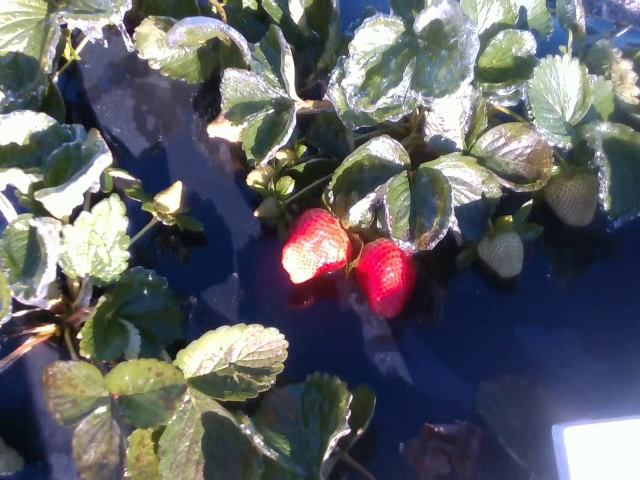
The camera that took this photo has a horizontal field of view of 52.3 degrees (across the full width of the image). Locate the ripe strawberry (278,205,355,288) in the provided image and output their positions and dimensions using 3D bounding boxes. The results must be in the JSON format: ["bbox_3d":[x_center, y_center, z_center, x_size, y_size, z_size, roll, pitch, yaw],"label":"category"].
[{"bbox_3d":[-0.004,0.009,0.475,0.052,0.070,0.040,40,-14,3],"label":"ripe strawberry"}]

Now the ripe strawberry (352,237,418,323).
[{"bbox_3d":[0.046,0.024,0.459,0.043,0.059,0.040,-7,-17,2],"label":"ripe strawberry"}]
